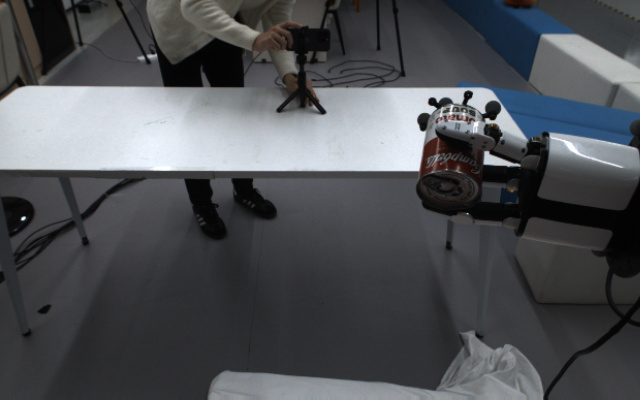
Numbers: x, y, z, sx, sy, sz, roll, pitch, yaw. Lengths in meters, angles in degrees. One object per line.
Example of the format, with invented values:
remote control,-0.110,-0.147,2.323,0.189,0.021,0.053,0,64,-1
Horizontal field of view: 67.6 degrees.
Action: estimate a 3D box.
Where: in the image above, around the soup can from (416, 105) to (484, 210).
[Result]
soup can,0.148,-0.050,0.538,0.067,0.067,0.101,9,56,10
